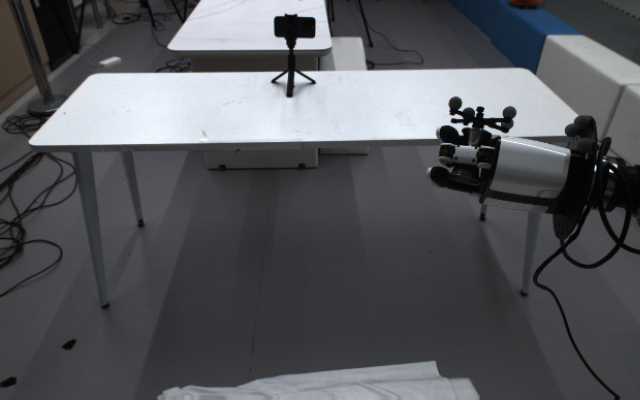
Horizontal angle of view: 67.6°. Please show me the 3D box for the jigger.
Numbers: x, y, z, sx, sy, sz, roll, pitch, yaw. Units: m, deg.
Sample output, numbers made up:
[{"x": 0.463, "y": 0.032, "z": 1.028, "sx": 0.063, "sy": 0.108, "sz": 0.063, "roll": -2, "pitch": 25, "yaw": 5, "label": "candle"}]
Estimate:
[{"x": 0.204, "y": -0.059, "z": 0.651, "sx": 0.043, "sy": 0.071, "sz": 0.043, "roll": 16, "pitch": -7, "yaw": 2, "label": "jigger"}]
